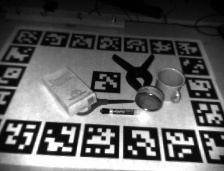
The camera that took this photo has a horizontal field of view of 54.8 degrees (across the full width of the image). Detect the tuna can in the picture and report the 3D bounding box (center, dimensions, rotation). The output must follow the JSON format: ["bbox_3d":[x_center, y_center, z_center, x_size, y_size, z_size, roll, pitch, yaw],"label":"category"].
[{"bbox_3d":[0.111,0.043,0.665,0.085,0.086,0.034,16,50,9],"label":"tuna can"}]

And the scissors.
[{"bbox_3d":[-0.038,0.048,0.686,0.204,0.016,0.087,-4,46,-11],"label":"scissors"}]

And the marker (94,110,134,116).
[{"bbox_3d":[0.006,0.084,0.663,0.121,0.020,0.019,0,50,-5],"label":"marker"}]

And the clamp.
[{"bbox_3d":[0.083,-0.045,0.784,0.166,0.037,0.201,-4,51,-9],"label":"clamp"}]

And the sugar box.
[{"bbox_3d":[-0.143,0.014,0.684,0.093,0.045,0.174,-26,50,-25],"label":"sugar box"}]

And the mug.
[{"bbox_3d":[0.172,0.009,0.706,0.094,0.082,0.116,-18,50,-19],"label":"mug"}]
